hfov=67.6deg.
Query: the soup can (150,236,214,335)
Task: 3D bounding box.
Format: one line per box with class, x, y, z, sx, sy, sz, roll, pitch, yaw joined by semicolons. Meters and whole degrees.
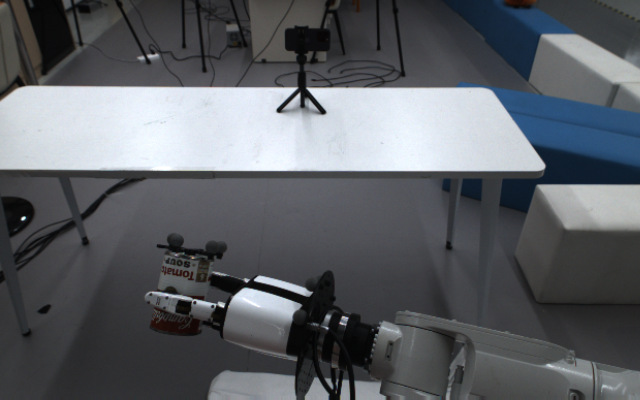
soup can;-0.181;0.124;0.645;0.067;0.101;0.067;9;-5;1
